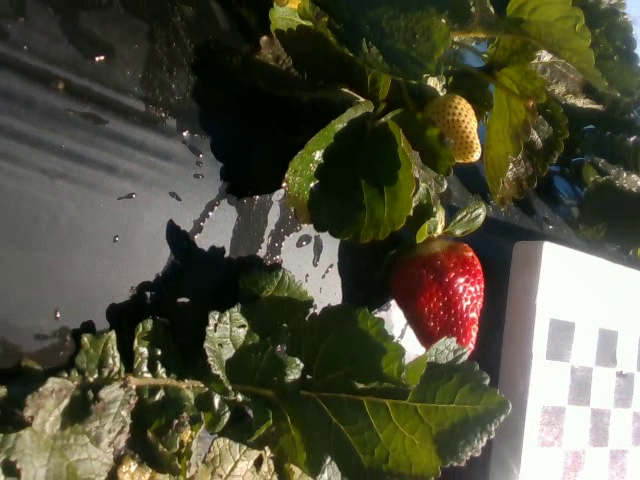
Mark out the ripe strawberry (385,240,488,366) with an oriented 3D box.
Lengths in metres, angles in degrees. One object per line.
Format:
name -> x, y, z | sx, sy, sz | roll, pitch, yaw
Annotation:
ripe strawberry -> 0.061, 0.030, 0.291 | 0.048, 0.068, 0.040 | -8, -3, -33
